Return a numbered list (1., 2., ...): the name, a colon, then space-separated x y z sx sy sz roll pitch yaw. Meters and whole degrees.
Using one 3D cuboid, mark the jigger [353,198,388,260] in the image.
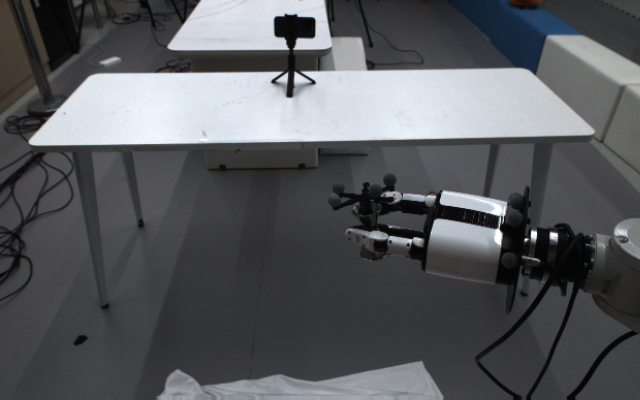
1. jigger: 0.069 0.041 0.654 0.043 0.071 0.043 -11 24 5
